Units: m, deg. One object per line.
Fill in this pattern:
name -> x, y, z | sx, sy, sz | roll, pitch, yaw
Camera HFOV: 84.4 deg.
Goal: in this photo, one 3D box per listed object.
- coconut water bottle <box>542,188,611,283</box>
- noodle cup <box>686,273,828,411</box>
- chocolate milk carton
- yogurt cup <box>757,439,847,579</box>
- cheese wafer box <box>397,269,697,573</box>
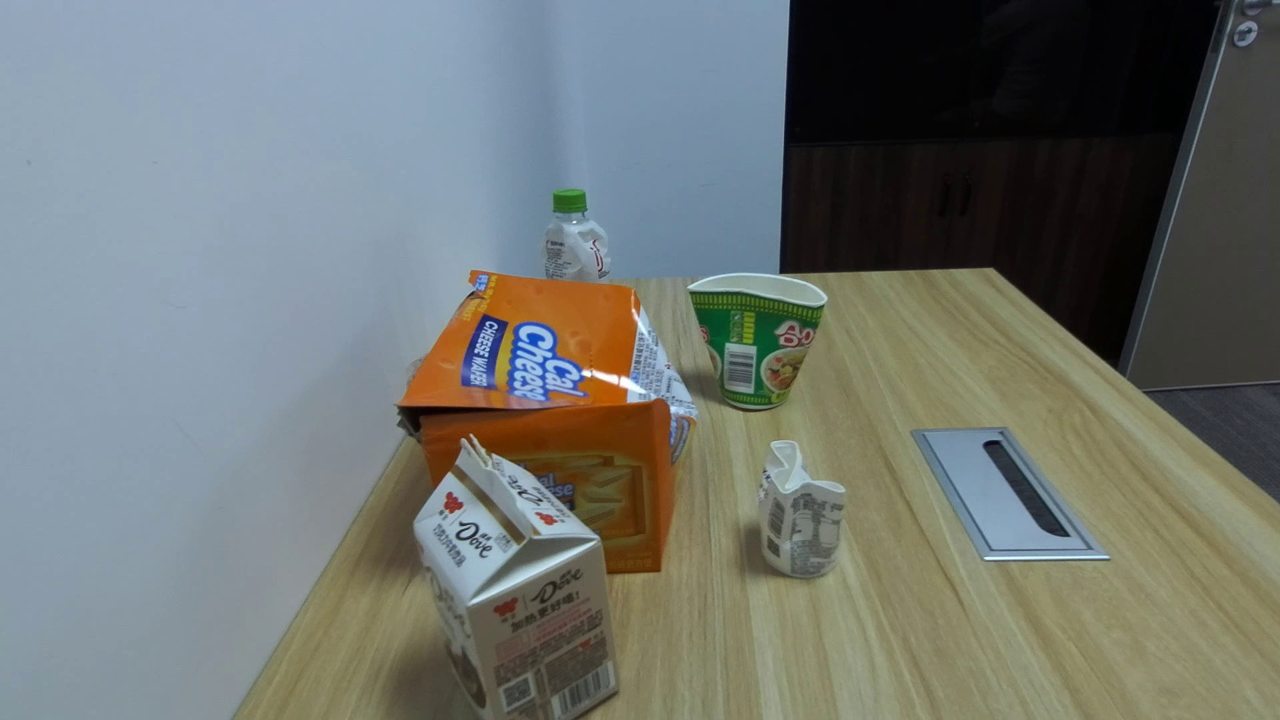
coconut water bottle -> -0.058, -0.070, 0.688 | 0.067, 0.187, 0.067 | -4, 20, 2
noodle cup -> 0.107, -0.017, 0.645 | 0.070, 0.111, 0.114 | -27, 36, -36
chocolate milk carton -> -0.064, 0.113, 0.364 | 0.074, 0.148, 0.075 | -21, 31, -29
yogurt cup -> 0.104, 0.098, 0.460 | 0.055, 0.072, 0.055 | -1, 28, 10
cheese wafer box -> -0.051, 0.032, 0.535 | 0.191, 0.145, 0.218 | -4, 27, 1
